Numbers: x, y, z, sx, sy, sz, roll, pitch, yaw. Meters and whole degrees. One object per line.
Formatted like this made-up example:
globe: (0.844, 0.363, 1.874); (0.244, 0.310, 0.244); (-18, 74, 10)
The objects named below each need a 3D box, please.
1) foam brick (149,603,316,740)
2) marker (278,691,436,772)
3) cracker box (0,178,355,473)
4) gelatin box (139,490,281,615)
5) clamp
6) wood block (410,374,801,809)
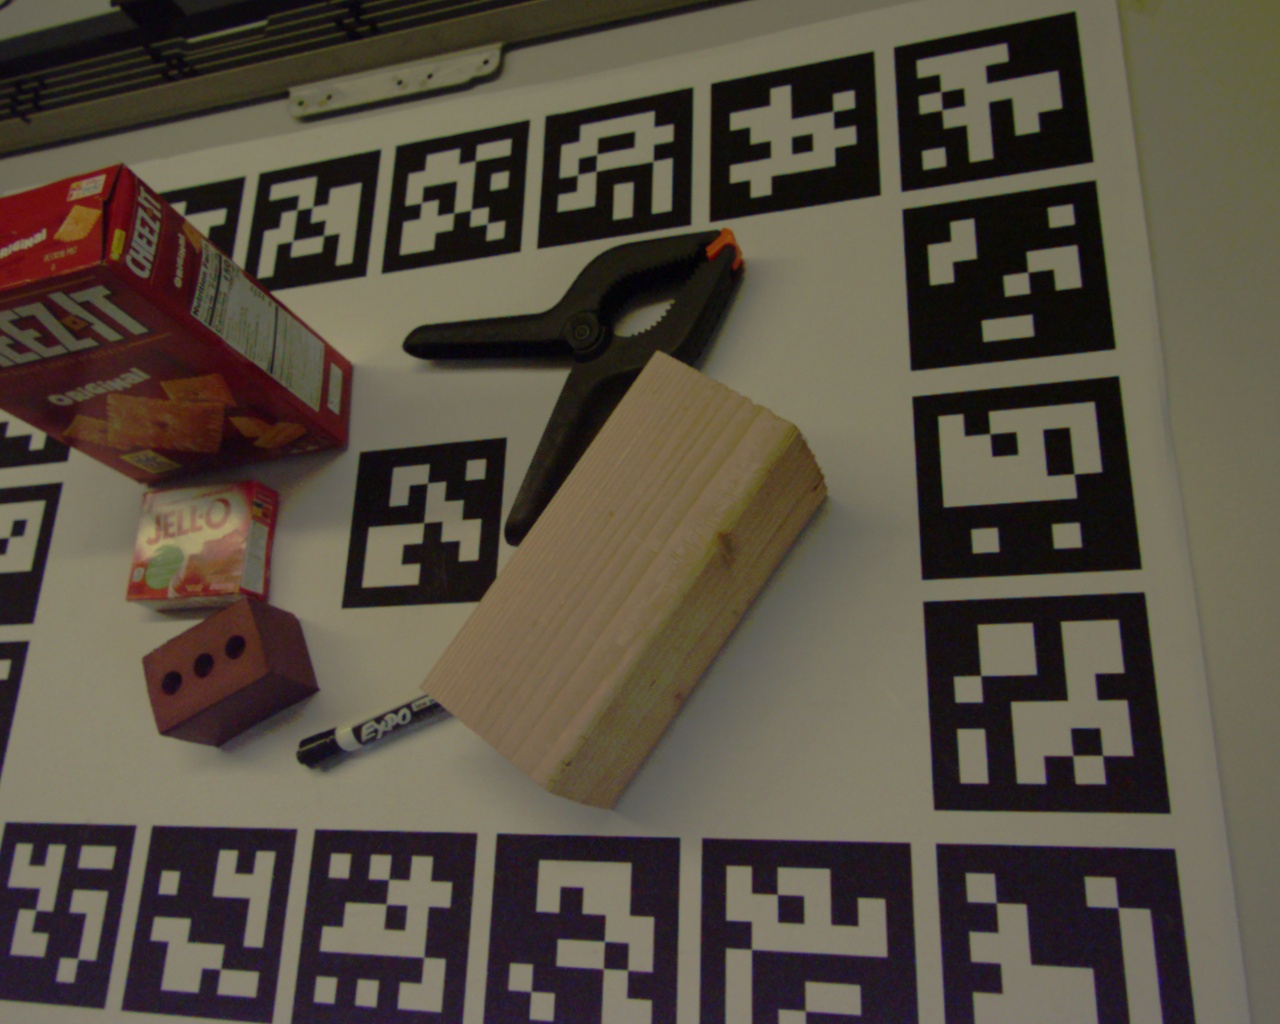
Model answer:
foam brick: (-0.251, 0.099, 0.700); (0.078, 0.051, 0.053); (-28, 68, 10)
marker: (-0.162, 0.126, 0.675); (0.121, 0.019, 0.020); (-24, 69, 12)
cracker box: (-0.297, -0.098, 0.686); (0.165, 0.211, 0.072); (-7, 70, 15)
gelatin box: (-0.283, 0.027, 0.749); (0.090, 0.030, 0.073); (-5, 73, 19)
clamp: (-0.041, -0.091, 0.692); (0.203, 0.036, 0.167); (-34, 66, 7)
wood block: (-0.015, 0.044, 0.614); (0.091, 0.090, 0.206); (33, 84, 28)
